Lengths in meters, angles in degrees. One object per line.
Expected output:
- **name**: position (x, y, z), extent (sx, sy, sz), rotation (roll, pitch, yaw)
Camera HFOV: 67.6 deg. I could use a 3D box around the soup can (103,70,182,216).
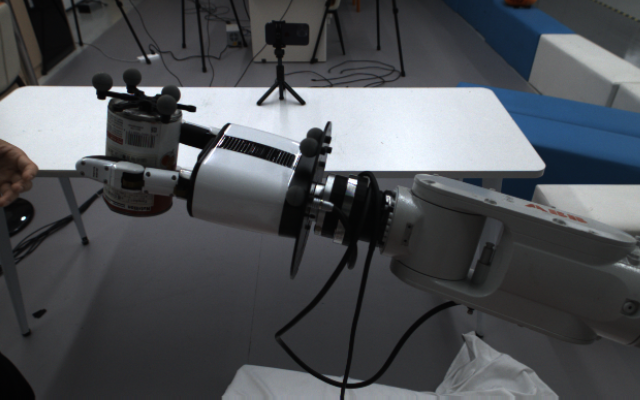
- **soup can**: position (-0.174, -0.043, 0.475), extent (0.067, 0.101, 0.067), rotation (12, 25, -6)
